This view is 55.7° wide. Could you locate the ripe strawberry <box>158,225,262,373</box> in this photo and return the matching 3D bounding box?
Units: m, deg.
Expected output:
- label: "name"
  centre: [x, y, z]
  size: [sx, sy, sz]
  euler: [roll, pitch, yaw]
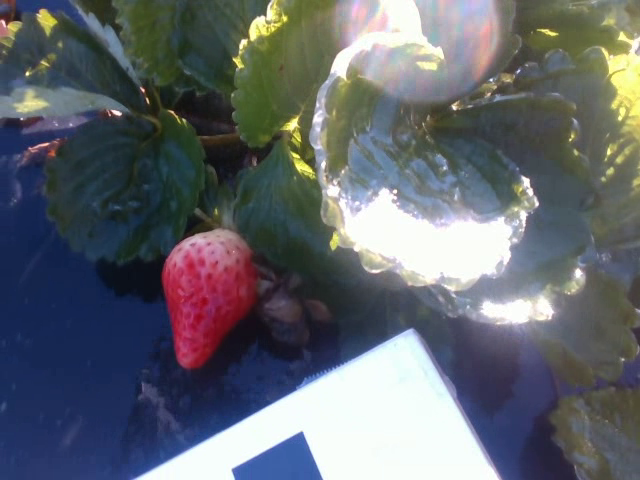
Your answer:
- label: "ripe strawberry"
  centre: [-0.053, 0.023, 0.243]
  size: [0.040, 0.065, 0.040]
  euler: [10, -13, 18]
